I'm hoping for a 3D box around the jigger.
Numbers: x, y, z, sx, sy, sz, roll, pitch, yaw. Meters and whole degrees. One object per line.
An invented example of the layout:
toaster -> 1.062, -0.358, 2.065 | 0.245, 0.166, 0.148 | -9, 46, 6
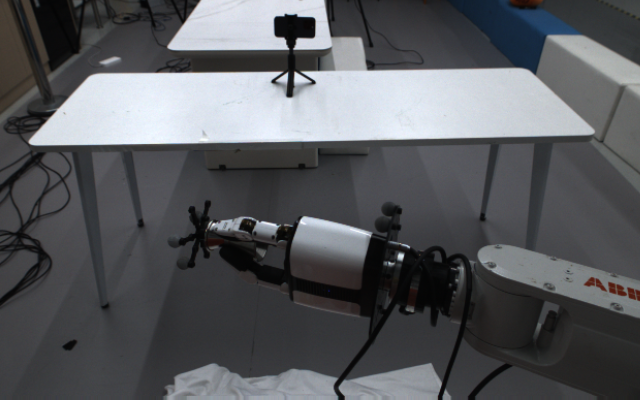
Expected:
jigger -> -0.095, 0.044, 0.593 | 0.071, 0.043, 0.043 | 8, 35, 15
